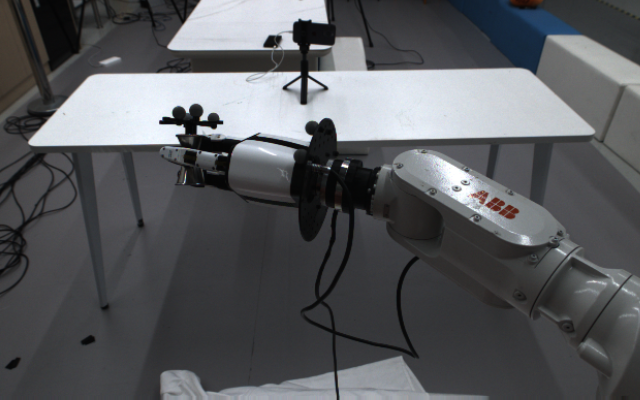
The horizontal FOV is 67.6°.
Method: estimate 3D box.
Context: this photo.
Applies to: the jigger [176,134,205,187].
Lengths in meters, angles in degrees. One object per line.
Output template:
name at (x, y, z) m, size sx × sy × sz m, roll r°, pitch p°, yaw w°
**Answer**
jigger at (-0.175, -0.054, 0.661) m, size 0.043 × 0.071 × 0.043 m, roll 0°, pitch 3°, yaw 0°
